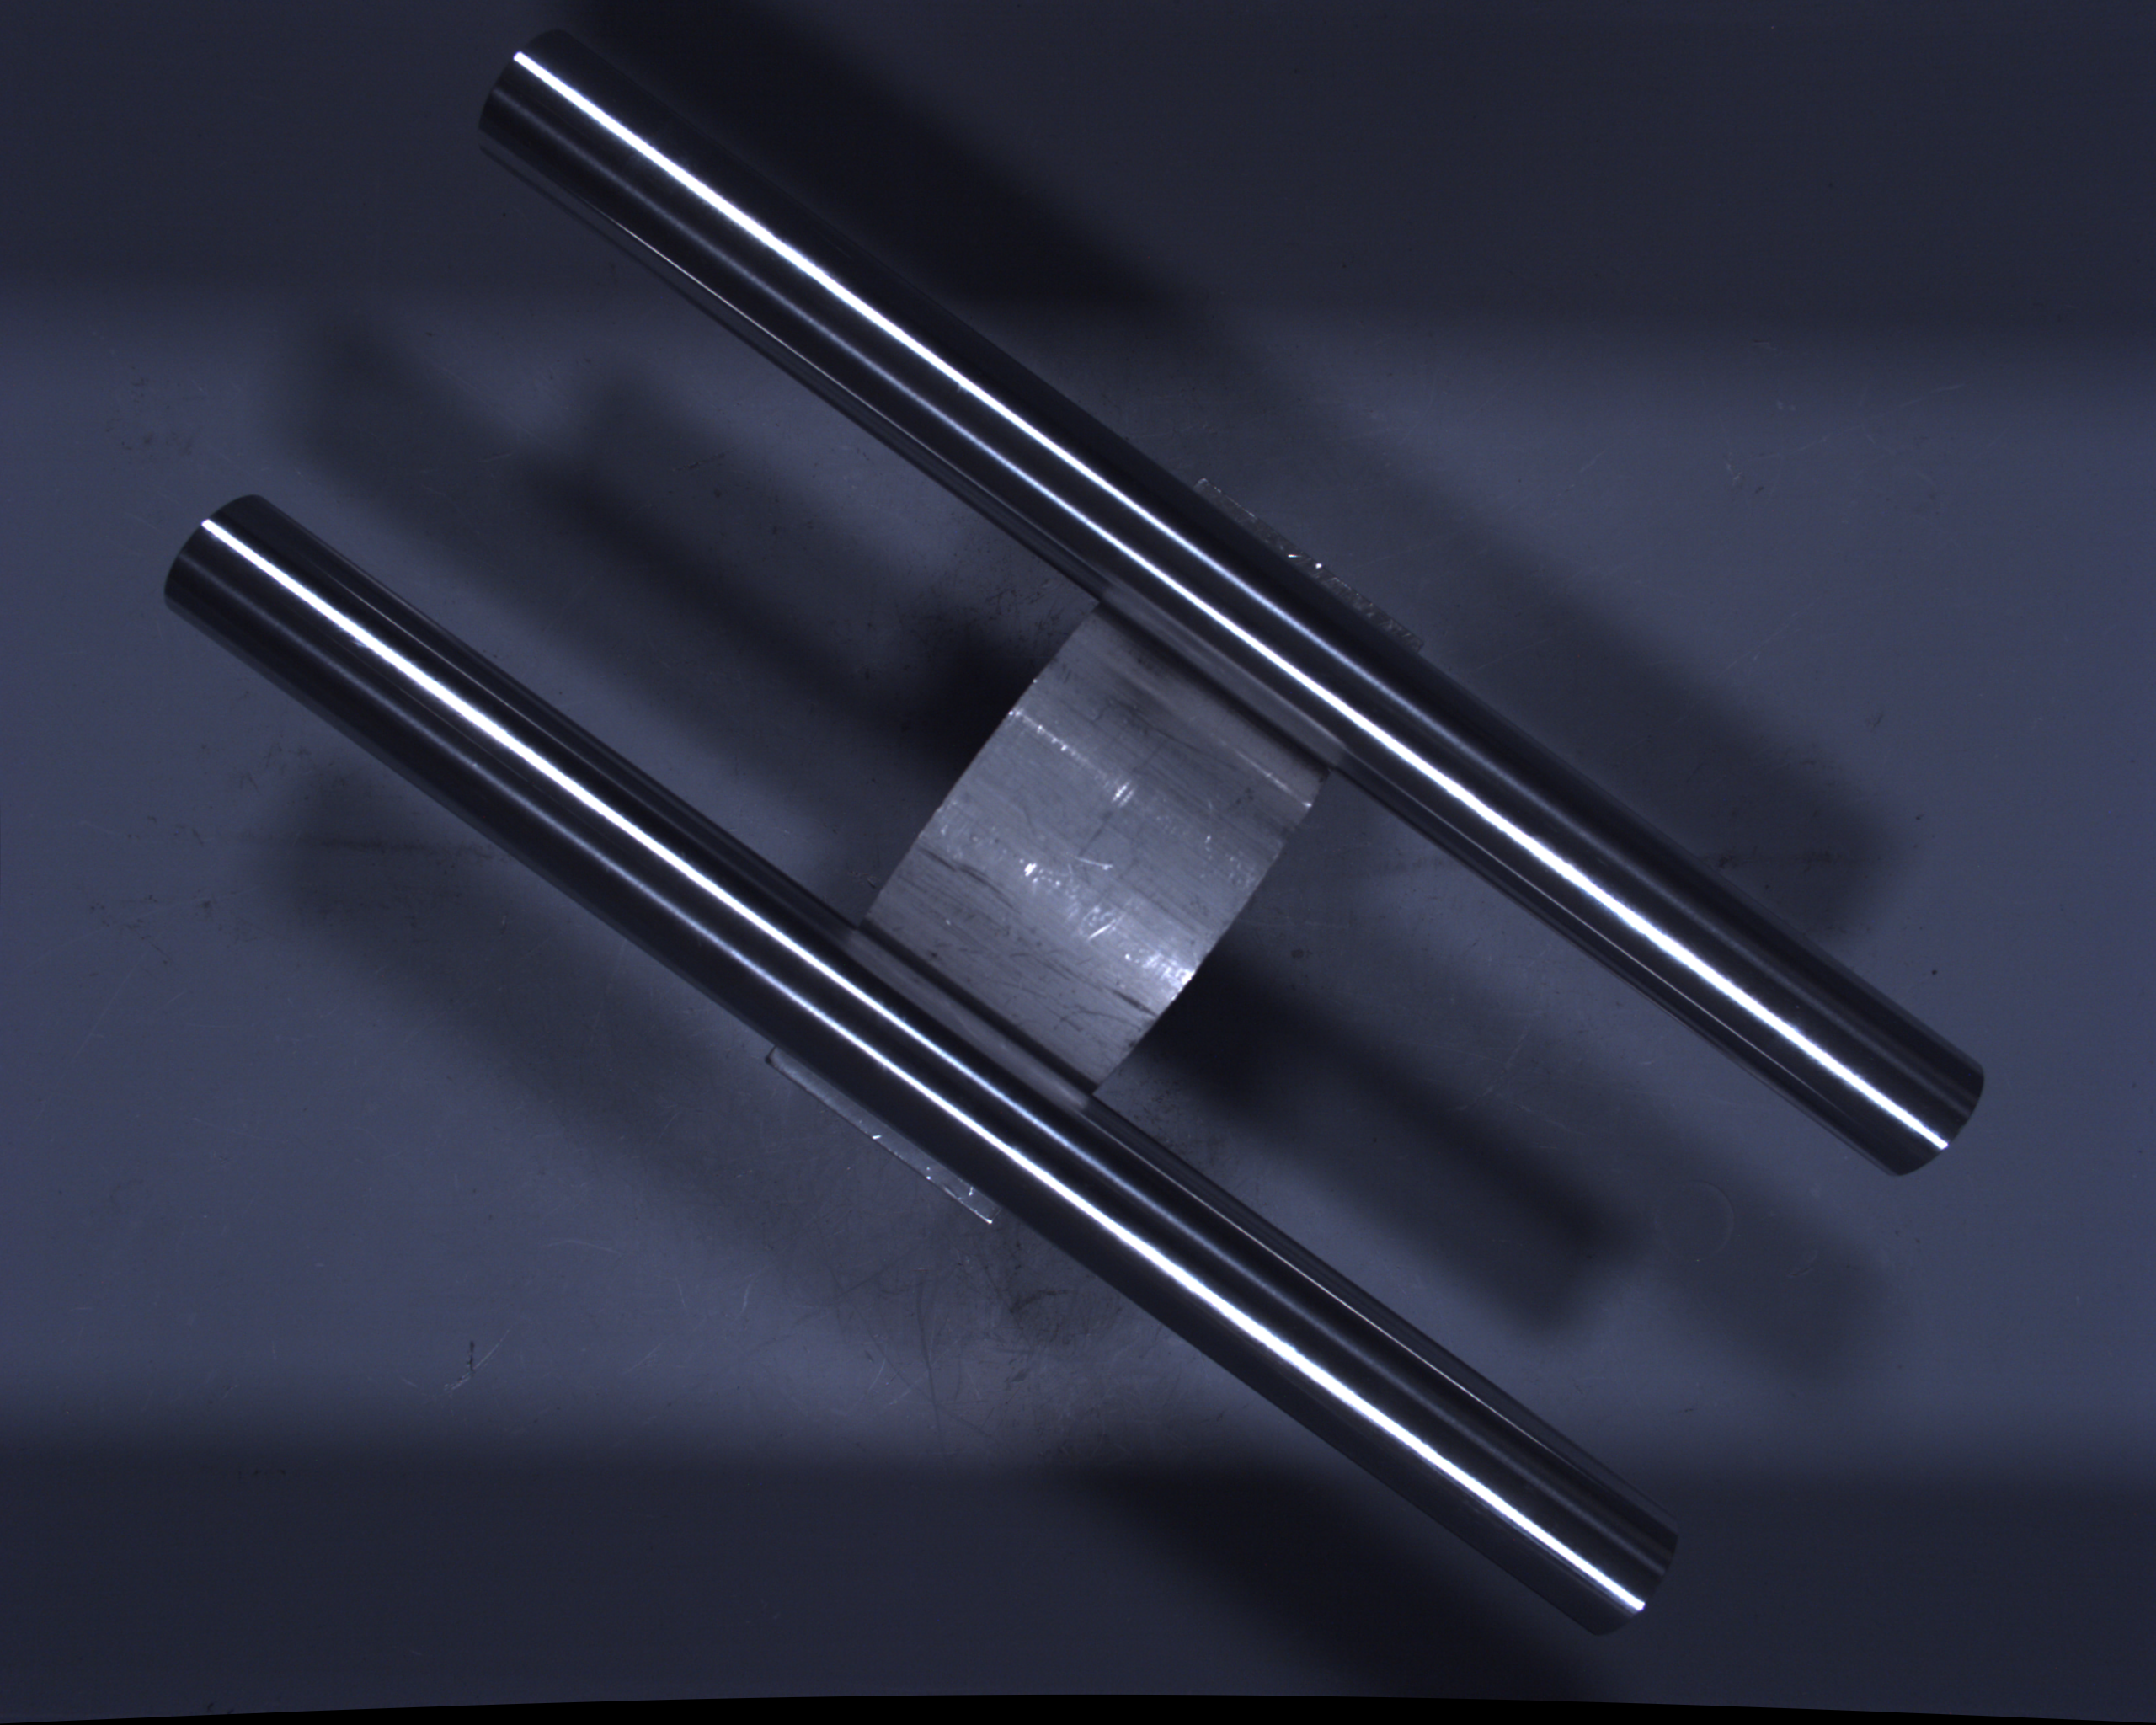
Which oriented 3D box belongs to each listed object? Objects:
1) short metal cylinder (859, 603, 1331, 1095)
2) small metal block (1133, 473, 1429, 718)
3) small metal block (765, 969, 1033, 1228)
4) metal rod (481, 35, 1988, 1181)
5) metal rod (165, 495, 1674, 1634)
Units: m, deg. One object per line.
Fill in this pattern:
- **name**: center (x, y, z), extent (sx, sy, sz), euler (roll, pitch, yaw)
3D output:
- **short metal cylinder**: center (0.003, -0.003, 0.382), extent (0.050, 0.080, 0.080), euler (37, 90, -1)
- **small metal block**: center (0.035, -0.045, 0.397), extent (0.050, 0.050, 0.025), euler (37, 90, -1)
- **small metal block**: center (-0.028, 0.040, 0.397), extent (0.050, 0.050, 0.025), euler (37, 90, -1)
- **metal rod**: center (0.027, -0.043, 0.360), extent (0.301, 0.025, 0.025), euler (36, 90, -1)
- **metal rod**: center (-0.027, 0.035, 0.361), extent (0.301, 0.025, 0.025), euler (36, 90, 0)
